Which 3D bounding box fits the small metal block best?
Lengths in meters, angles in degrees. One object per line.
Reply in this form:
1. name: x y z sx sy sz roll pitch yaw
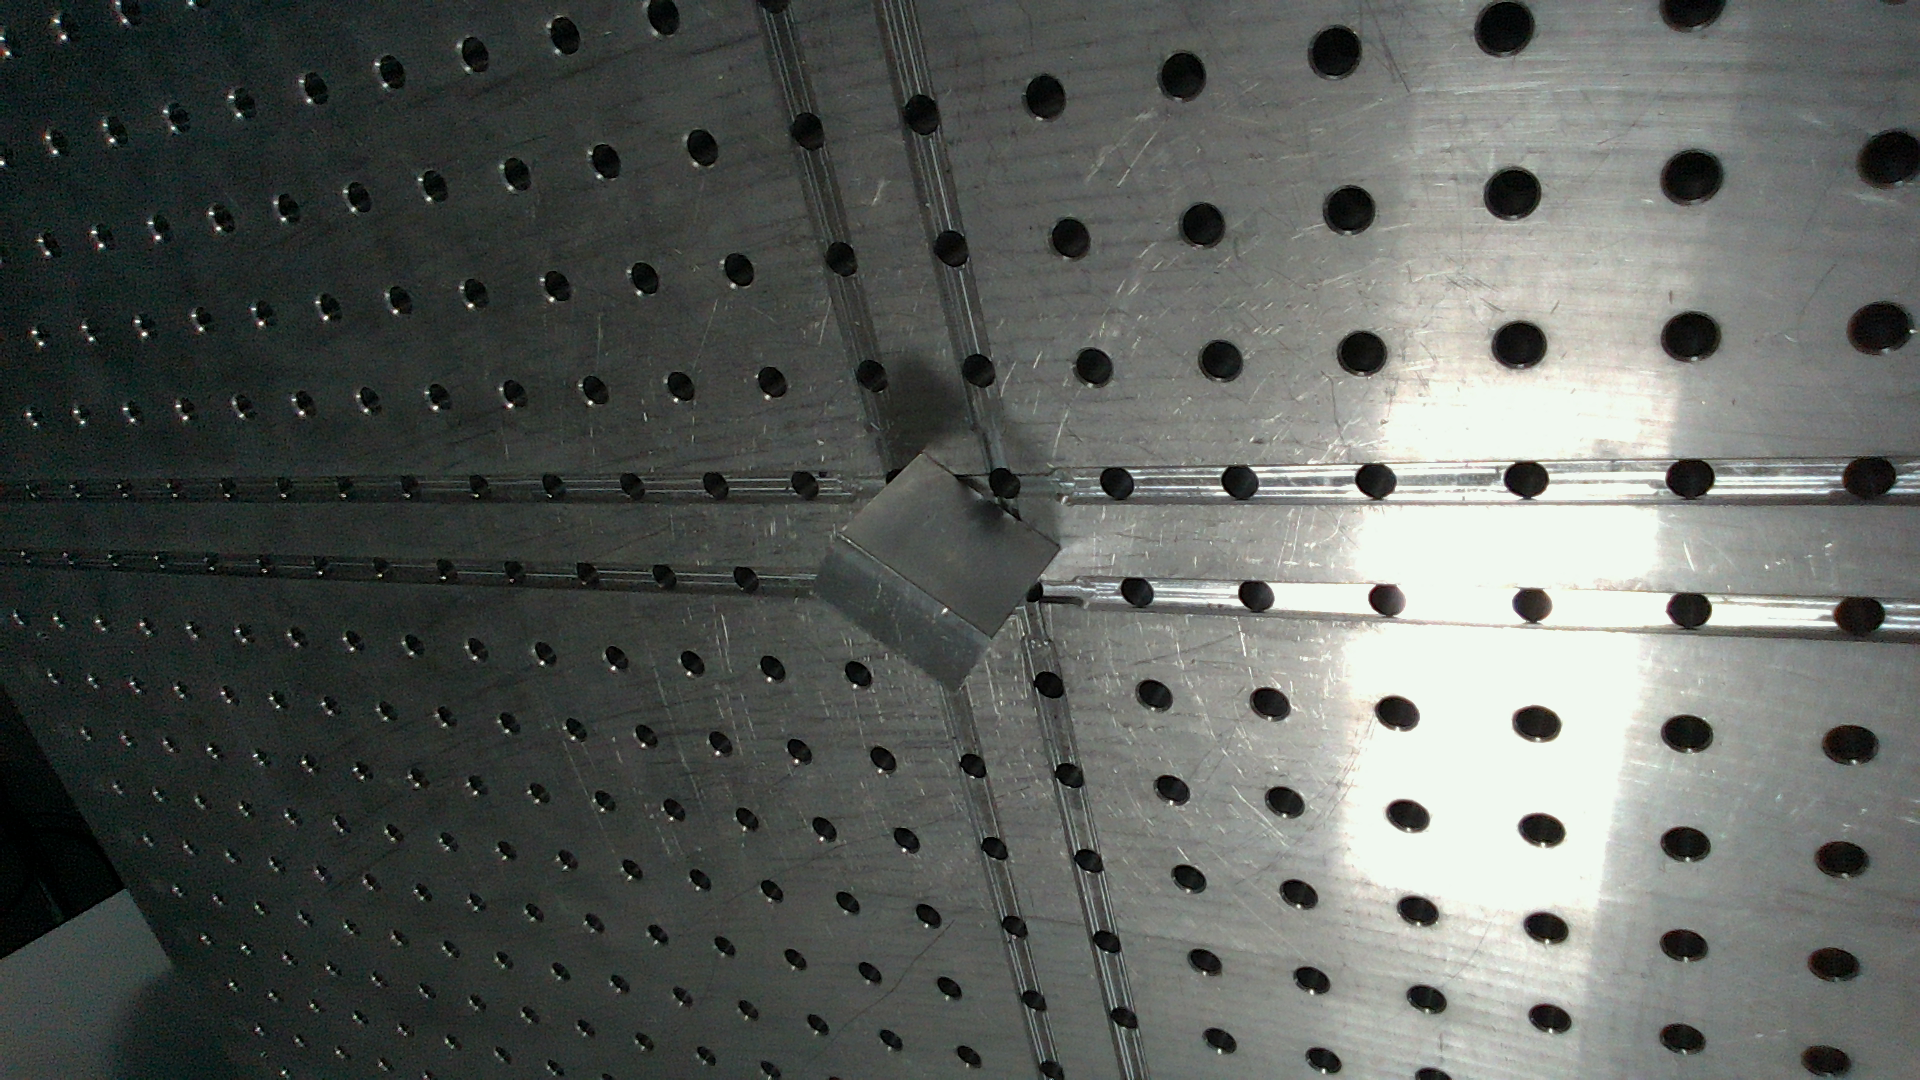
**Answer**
1. small metal block: -0.007 0.008 0.388 0.050 0.050 0.025 35 129 5
